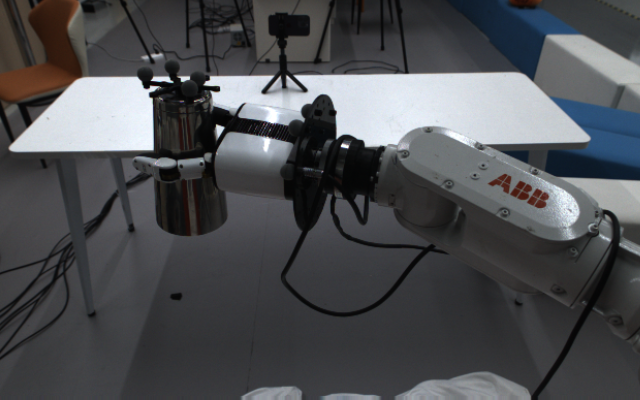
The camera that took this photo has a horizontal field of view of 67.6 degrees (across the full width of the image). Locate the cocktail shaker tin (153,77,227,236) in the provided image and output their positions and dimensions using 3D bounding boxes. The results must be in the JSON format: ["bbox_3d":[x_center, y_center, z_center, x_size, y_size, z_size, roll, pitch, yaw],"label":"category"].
[{"bbox_3d":[-0.163,-0.051,0.598,0.093,0.170,0.093,3,32,-2],"label":"cocktail shaker tin"}]
